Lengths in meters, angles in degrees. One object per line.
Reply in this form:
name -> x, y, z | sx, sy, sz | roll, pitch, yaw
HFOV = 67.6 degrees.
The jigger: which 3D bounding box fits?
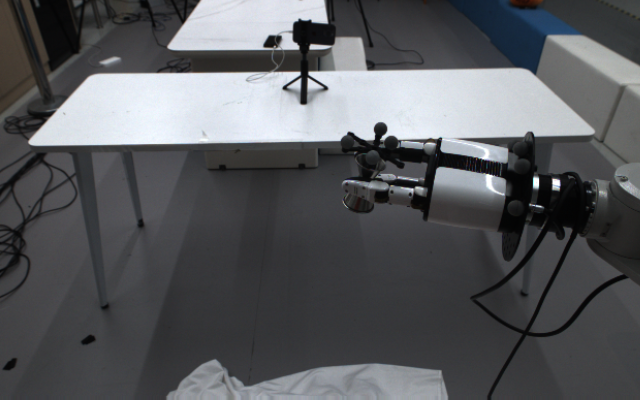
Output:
jigger -> 0.058, -0.023, 0.632 | 0.043, 0.071, 0.043 | 10, 36, -7
